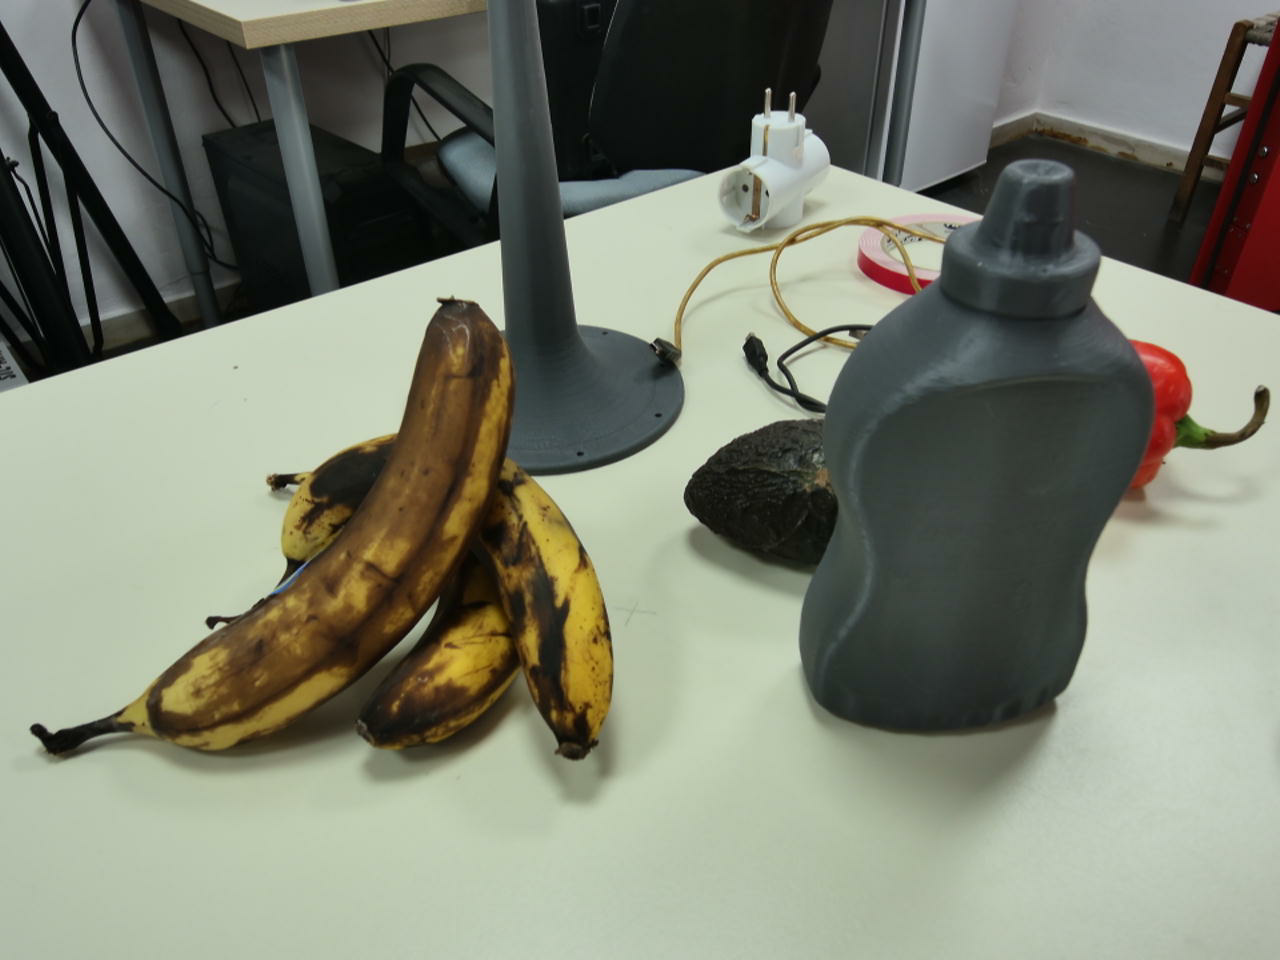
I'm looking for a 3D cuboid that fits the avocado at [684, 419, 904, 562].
[{"bbox_3d":[0.067,0.003,0.432,0.092,0.062,0.062,18,39,23],"label":"avocado"}]
